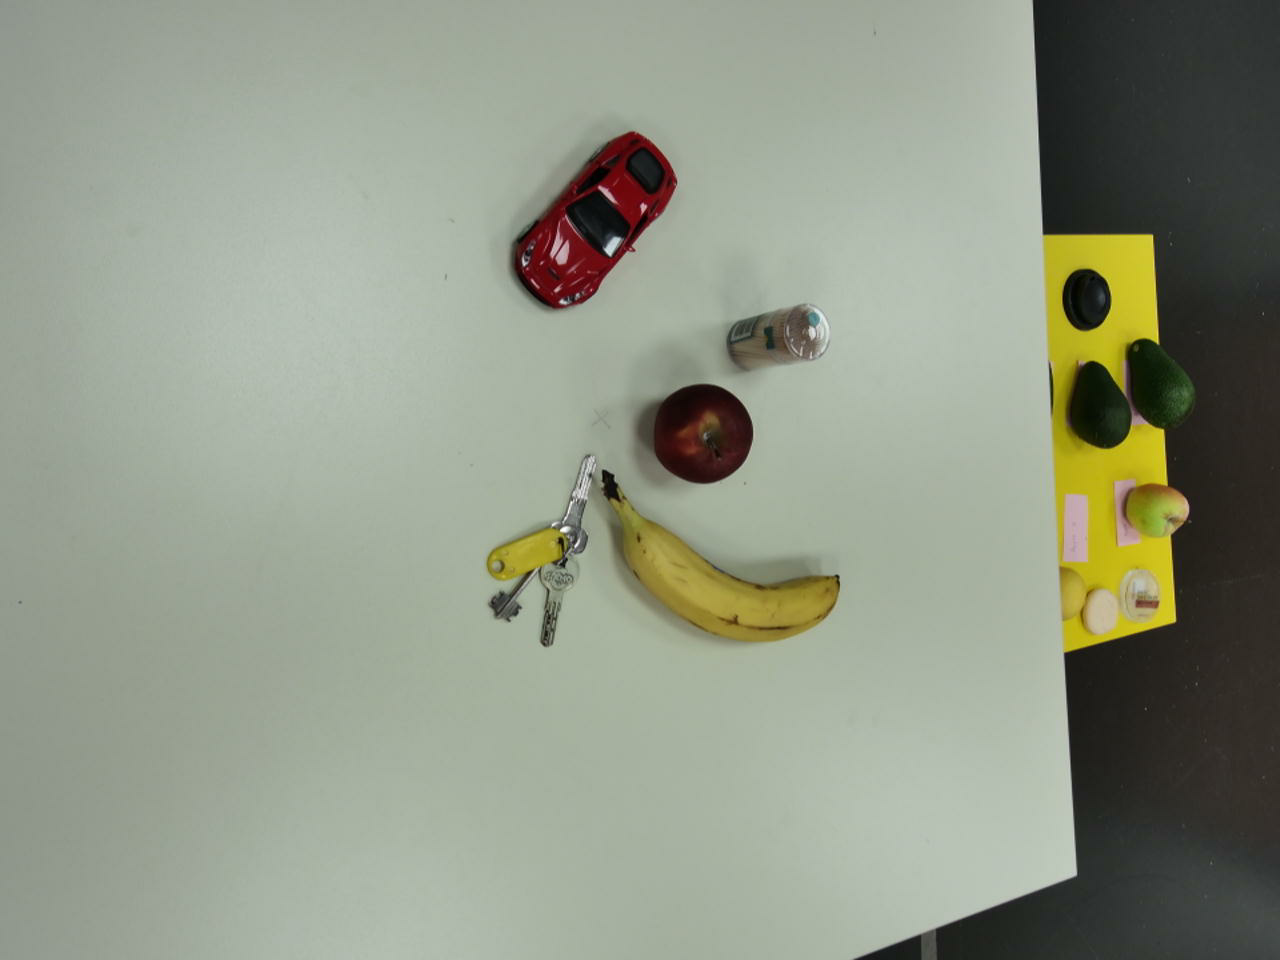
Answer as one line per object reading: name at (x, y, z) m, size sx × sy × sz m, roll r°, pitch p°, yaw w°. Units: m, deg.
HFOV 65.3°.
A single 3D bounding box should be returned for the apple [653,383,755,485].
apple at (0.043, -0.032, 0.694) m, size 0.070 × 0.072 × 0.070 m, roll 0°, pitch 91°, yaw -28°
